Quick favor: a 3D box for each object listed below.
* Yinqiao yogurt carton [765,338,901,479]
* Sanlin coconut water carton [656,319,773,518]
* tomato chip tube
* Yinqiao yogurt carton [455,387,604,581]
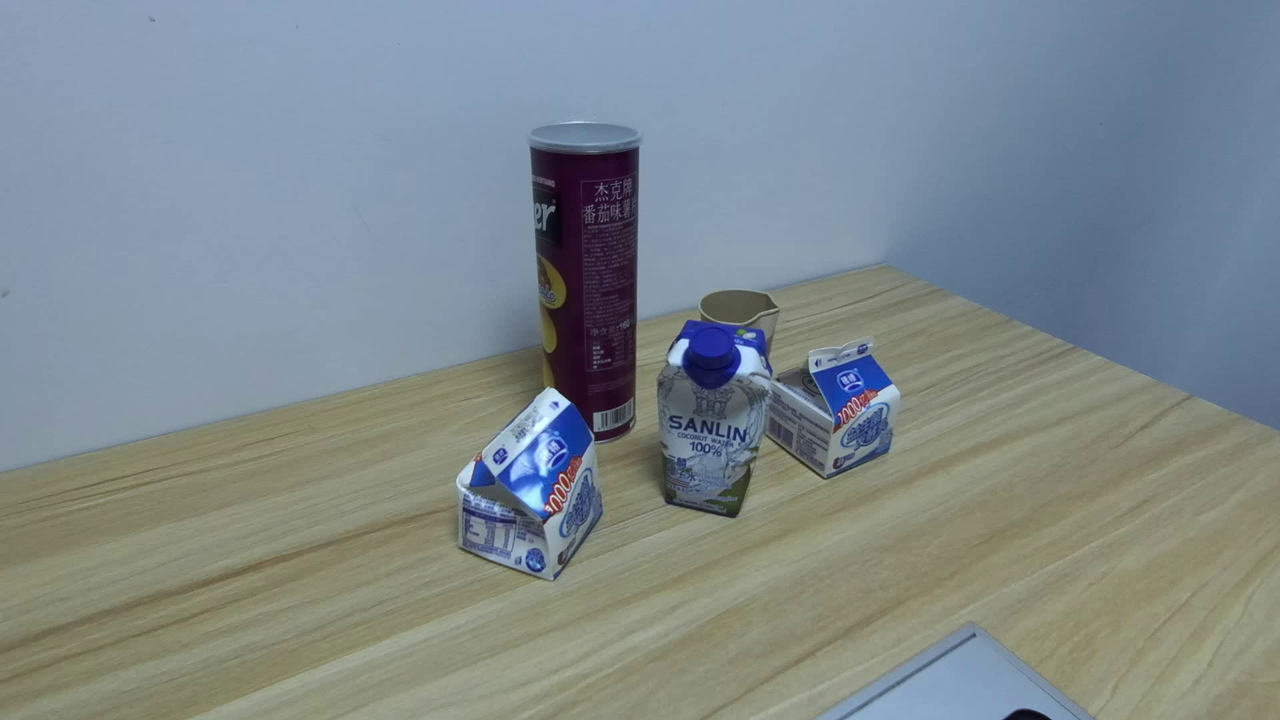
[{"bbox_3d":[0.151,0.027,0.548,0.076,0.092,0.073,-14,30,-30],"label":"Yinqiao yogurt carton"},{"bbox_3d":[0.049,0.036,0.478,0.078,0.142,0.058,9,35,15],"label":"Sanlin coconut water carton"},{"bbox_3d":[-0.037,-0.052,0.537,0.078,0.234,0.078,1,29,0],"label":"tomato chip tube"},{"bbox_3d":[-0.070,0.073,0.459,0.077,0.093,0.083,13,31,21],"label":"Yinqiao yogurt carton"}]
